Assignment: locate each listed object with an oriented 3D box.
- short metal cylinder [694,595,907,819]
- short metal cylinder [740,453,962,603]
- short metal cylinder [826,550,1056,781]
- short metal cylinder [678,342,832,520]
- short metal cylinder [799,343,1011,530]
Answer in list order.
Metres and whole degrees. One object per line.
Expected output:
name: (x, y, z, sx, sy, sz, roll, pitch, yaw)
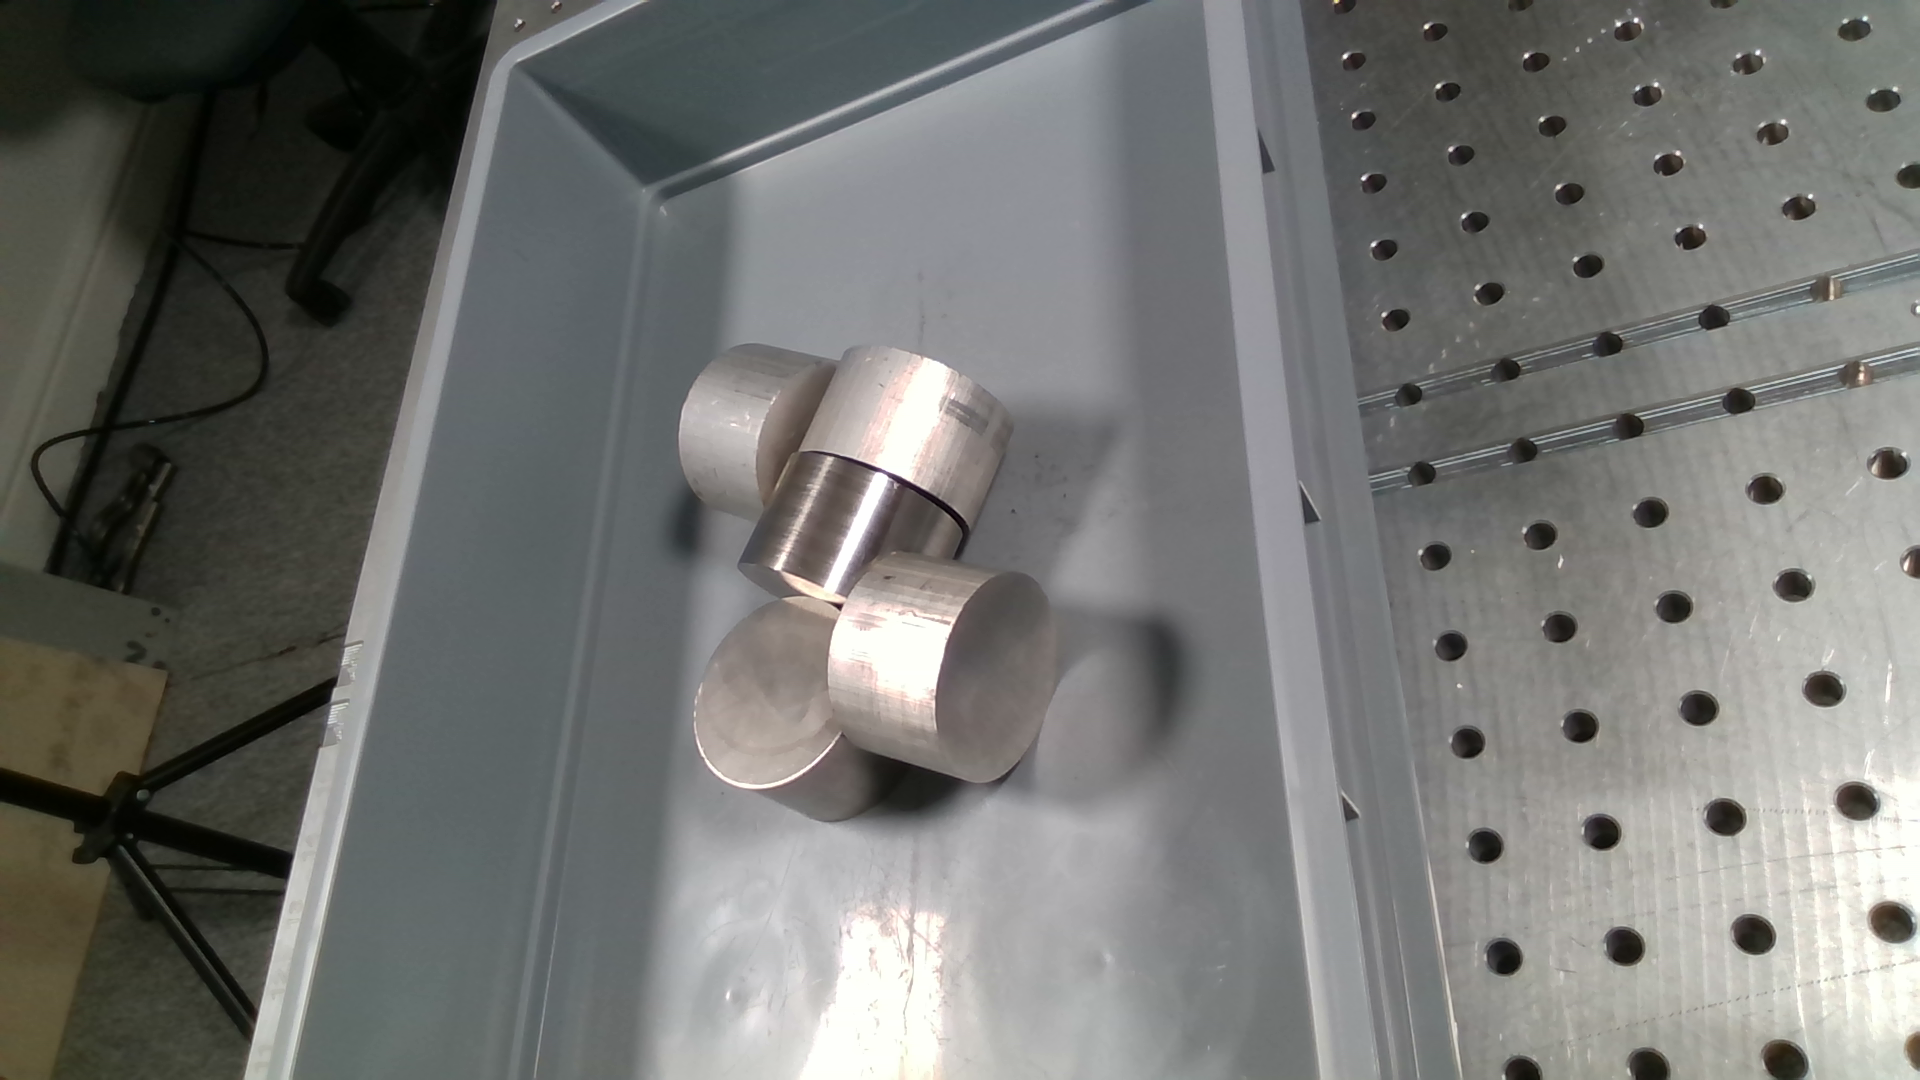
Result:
short metal cylinder: (-0.062, 0.069, 0.569, 0.080, 0.050, 0.080, -14, 59, 25)
short metal cylinder: (-0.046, 0.005, 0.575, 0.080, 0.080, 0.050, 14, 73, 36)
short metal cylinder: (-0.006, 0.047, 0.527, 0.050, 0.080, 0.080, 10, 71, 35)
short metal cylinder: (-0.080, -0.046, 0.622, 0.050, 0.080, 0.080, 17, 75, 37)
short metal cylinder: (-0.023, -0.041, 0.585, 0.080, 0.080, 0.050, 12, 72, 36)
